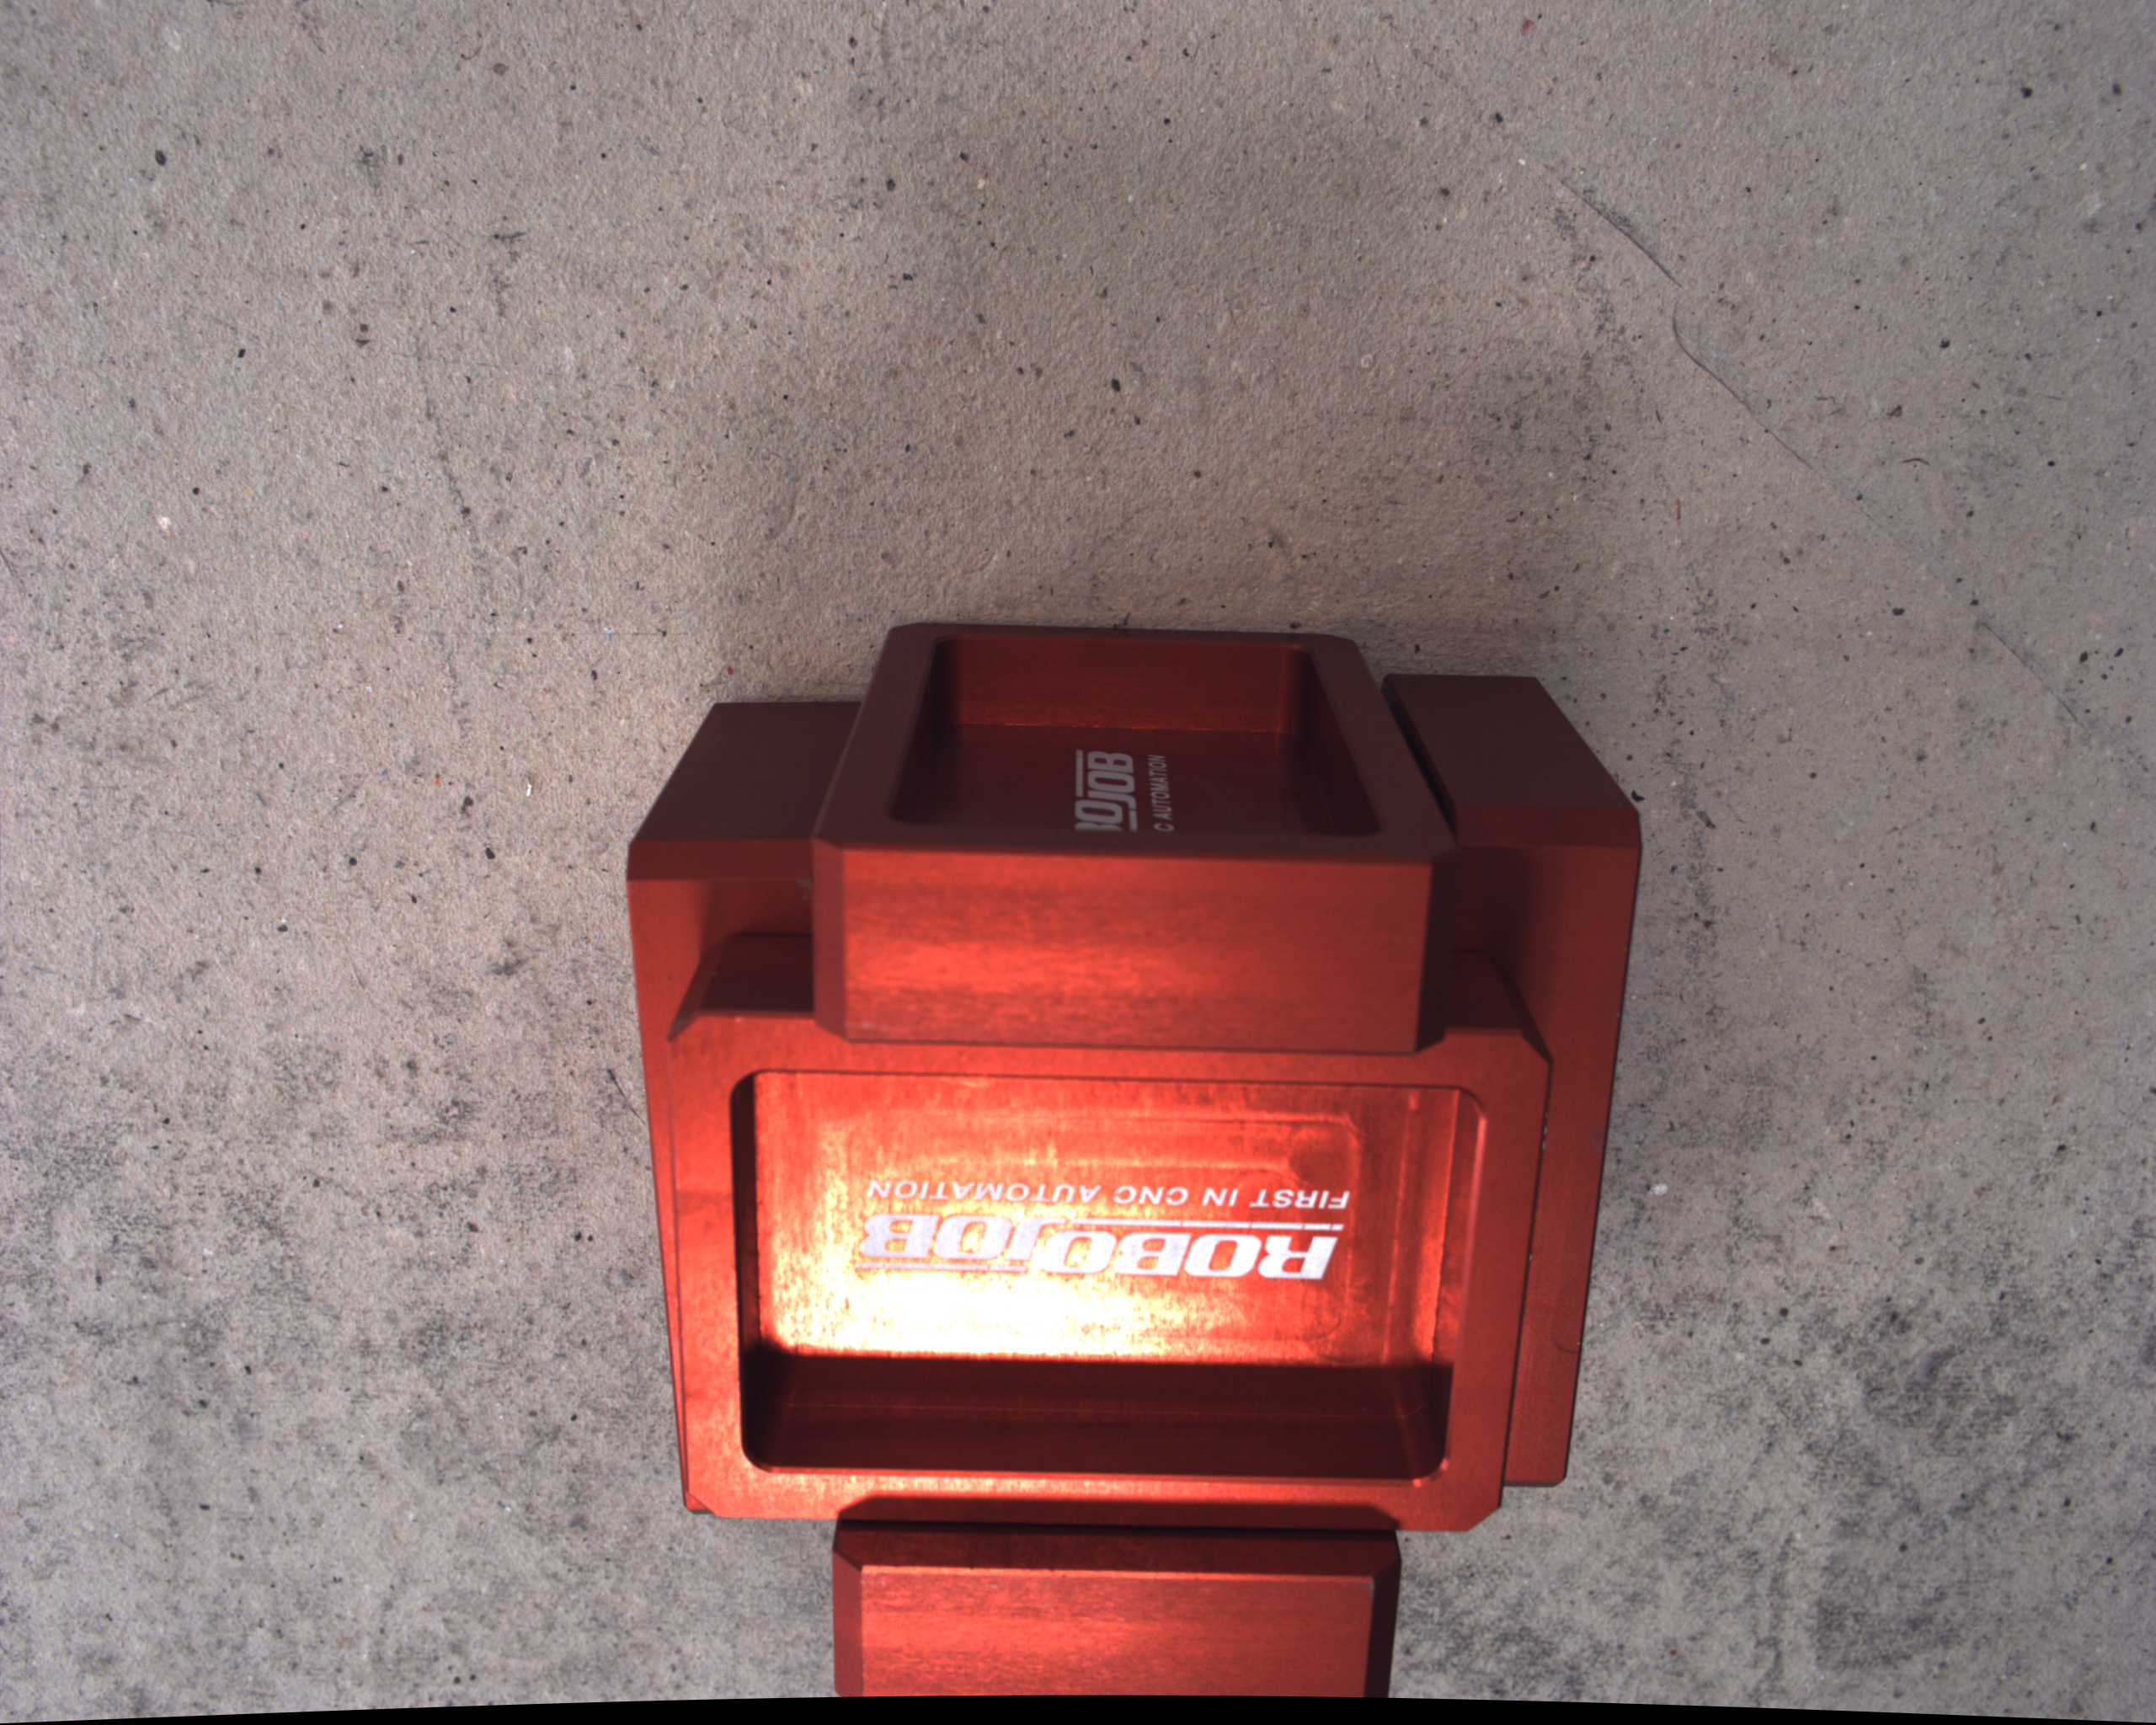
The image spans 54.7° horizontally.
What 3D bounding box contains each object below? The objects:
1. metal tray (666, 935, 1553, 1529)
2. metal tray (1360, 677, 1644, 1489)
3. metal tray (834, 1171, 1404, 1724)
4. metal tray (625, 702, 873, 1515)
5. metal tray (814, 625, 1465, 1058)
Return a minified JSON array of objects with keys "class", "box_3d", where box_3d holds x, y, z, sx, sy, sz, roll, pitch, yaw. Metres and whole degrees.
[{"class":"metal tray","box_3d":[0.004,0.060,0.334,0.131,0.030,0.089,1,111,-1]},{"class":"metal tray","box_3d":[0.073,0.038,0.390,0.030,0.090,0.129,2,109,0]},{"class":"metal tray","box_3d":[0.006,0.102,0.392,0.091,0.130,0.030,1,111,-1]},{"class":"metal tray","box_3d":[-0.056,0.043,0.391,0.030,0.090,0.129,-1,110,0]},{"class":"metal tray","box_3d":[0.008,-0.009,0.351,0.091,0.130,0.030,2,110,-1]}]
